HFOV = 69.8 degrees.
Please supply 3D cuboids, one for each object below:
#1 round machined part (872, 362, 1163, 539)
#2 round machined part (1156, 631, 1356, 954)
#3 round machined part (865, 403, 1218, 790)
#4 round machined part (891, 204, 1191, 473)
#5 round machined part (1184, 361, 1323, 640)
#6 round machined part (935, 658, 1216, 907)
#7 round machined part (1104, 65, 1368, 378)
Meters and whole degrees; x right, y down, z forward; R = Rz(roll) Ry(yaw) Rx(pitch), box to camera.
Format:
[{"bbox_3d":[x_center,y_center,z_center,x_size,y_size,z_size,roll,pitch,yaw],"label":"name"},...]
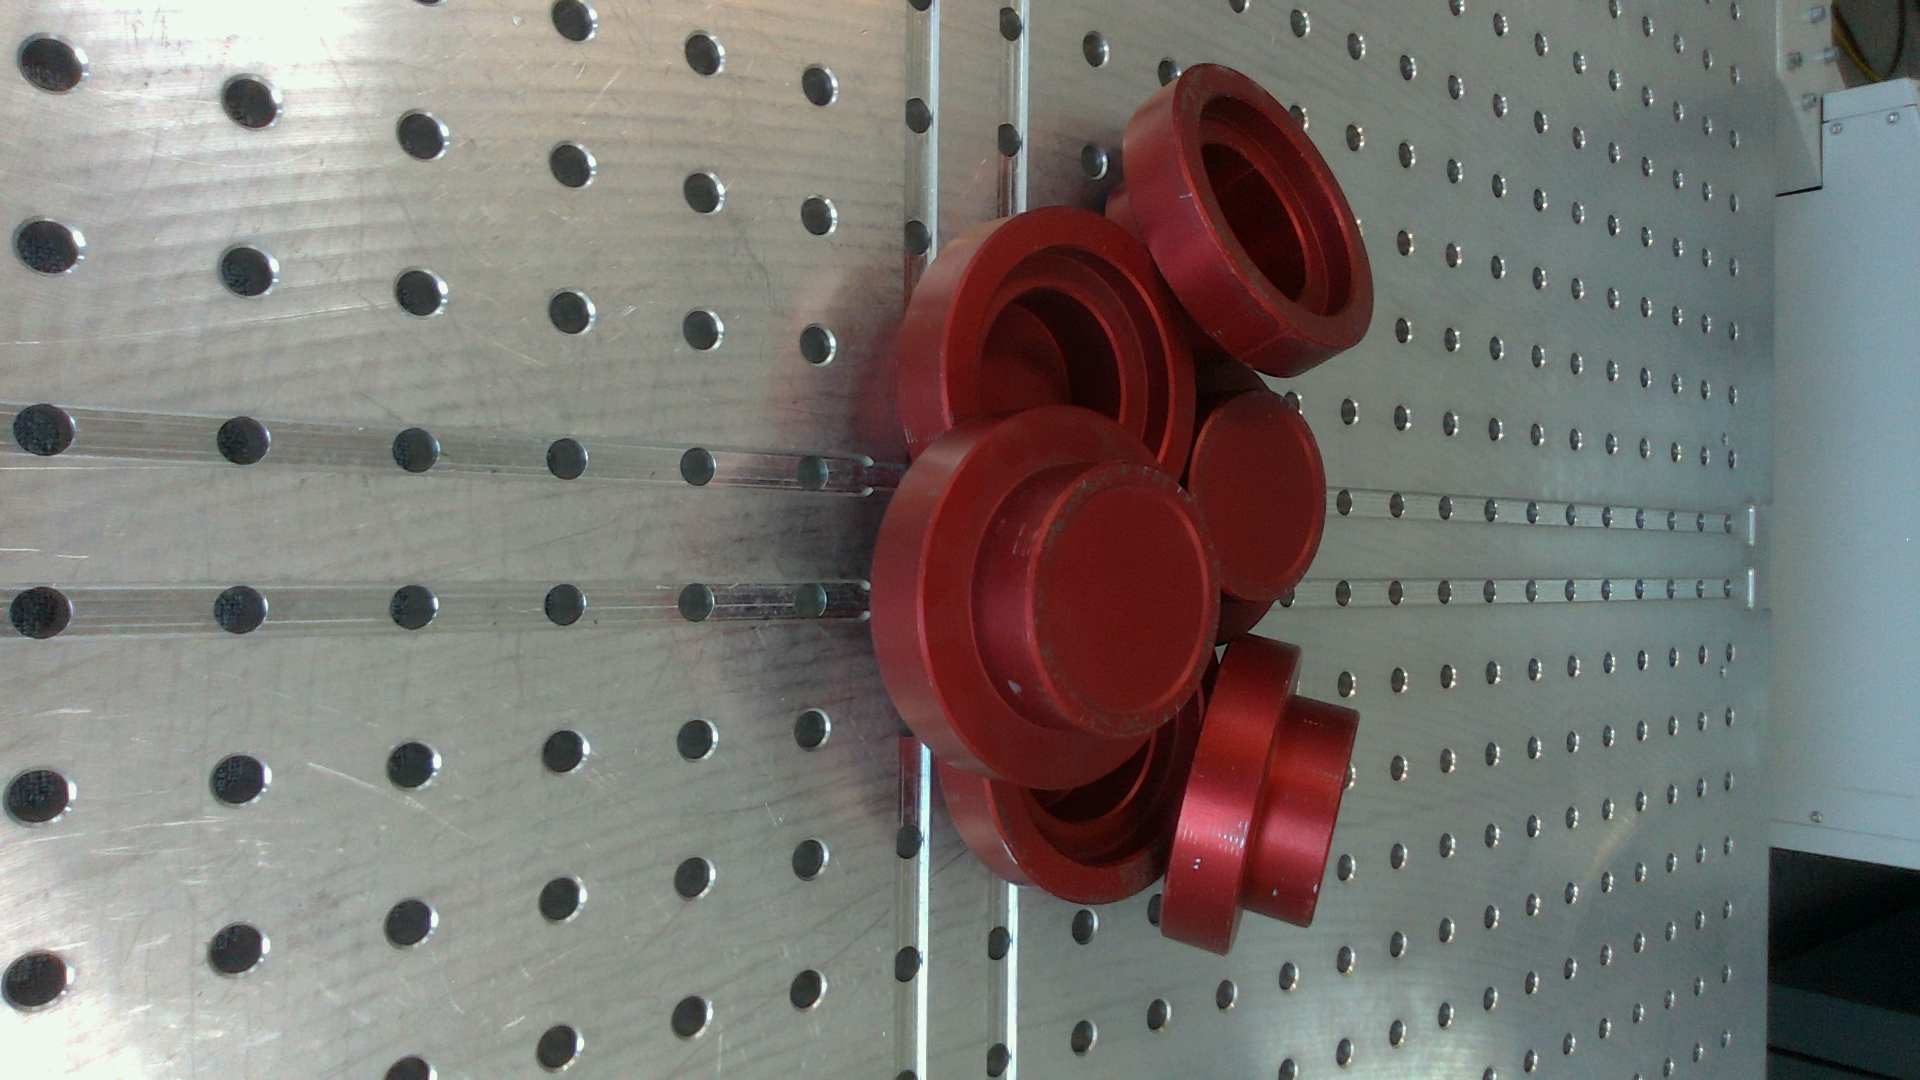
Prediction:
[{"bbox_3d":[0.014,0.000,0.391,0.098,0.042,0.098,0,90,-40],"label":"round machined part"},{"bbox_3d":[0.095,0.081,0.428,0.098,0.042,0.098,13,90,-73],"label":"round machined part"},{"bbox_3d":[0.028,0.014,0.349,0.098,0.042,0.098,0,90,-40],"label":"round machined part"},{"bbox_3d":[0.019,-0.044,0.396,0.098,0.042,0.098,0,90,-40],"label":"round machined part"},{"bbox_3d":[0.081,-0.014,0.448,0.098,0.042,0.098,0,90,-40],"label":"round machined part"},{"bbox_3d":[0.030,0.054,0.405,0.098,0.042,0.098,0,90,-40],"label":"round machined part"},{"bbox_3d":[0.083,-0.095,0.435,0.098,0.042,0.098,24,53,-36],"label":"round machined part"}]
